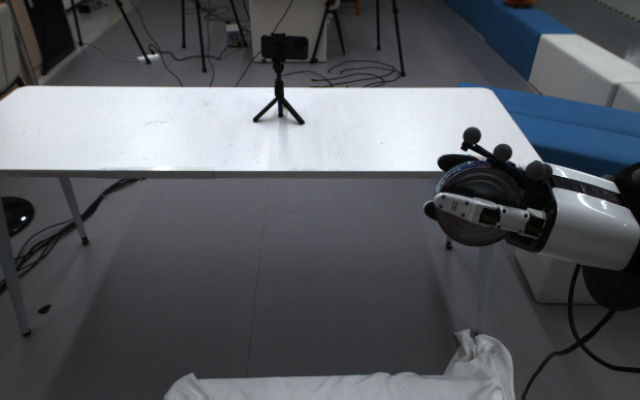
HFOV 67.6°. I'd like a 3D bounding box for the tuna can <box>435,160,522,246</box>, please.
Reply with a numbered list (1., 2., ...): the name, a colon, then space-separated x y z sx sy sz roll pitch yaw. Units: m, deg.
1. tuna can: 0.165 0.000 0.505 0.085 0.085 0.034 7 17 6
